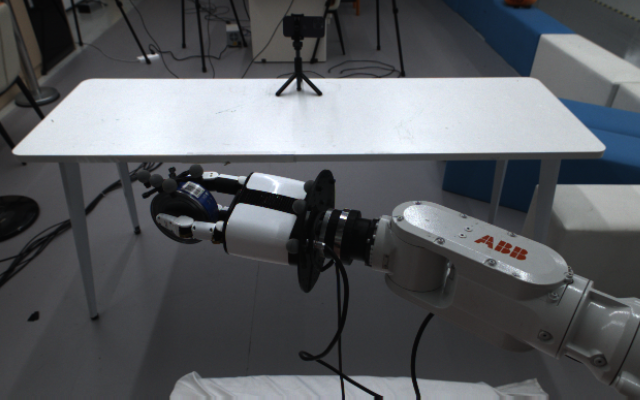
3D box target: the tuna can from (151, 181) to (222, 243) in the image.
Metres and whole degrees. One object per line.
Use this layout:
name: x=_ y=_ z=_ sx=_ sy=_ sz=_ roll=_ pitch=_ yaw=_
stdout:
tuna can: x=-0.177 y=0.018 z=0.654 sx=0.085 sy=0.085 sz=0.034 roll=9 pitch=33 yaw=10
